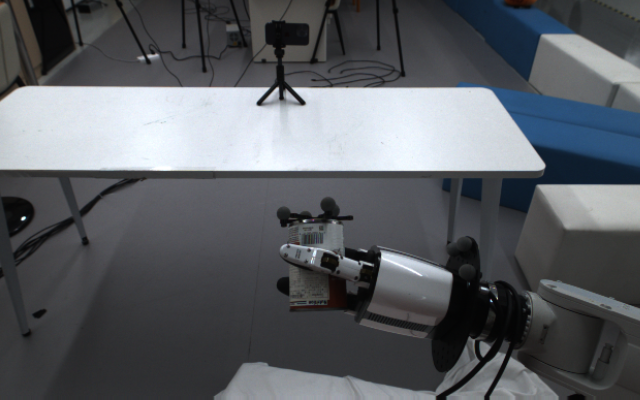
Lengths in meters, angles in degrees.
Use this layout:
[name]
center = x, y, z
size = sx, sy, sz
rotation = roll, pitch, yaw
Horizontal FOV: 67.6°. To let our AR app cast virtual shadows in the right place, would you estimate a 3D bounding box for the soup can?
[soup can]
center = -0.001, 0.078, 0.565
size = 0.067, 0.067, 0.101
rotation = -1, 77, -5
